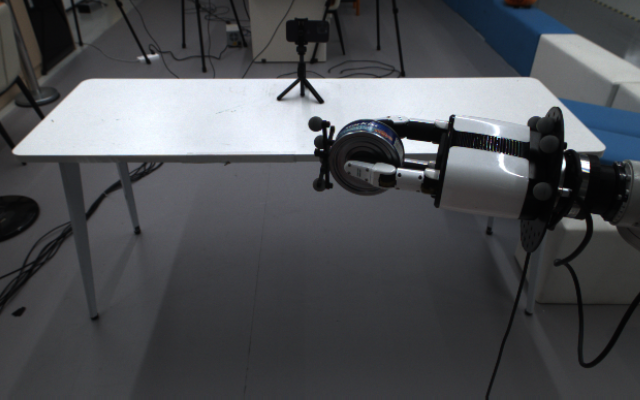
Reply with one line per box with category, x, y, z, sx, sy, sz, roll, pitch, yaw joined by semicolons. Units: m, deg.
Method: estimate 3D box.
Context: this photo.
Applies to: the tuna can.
tuna can;0.057;-0.047;0.562;0.085;0.085;0.034;9;33;9
